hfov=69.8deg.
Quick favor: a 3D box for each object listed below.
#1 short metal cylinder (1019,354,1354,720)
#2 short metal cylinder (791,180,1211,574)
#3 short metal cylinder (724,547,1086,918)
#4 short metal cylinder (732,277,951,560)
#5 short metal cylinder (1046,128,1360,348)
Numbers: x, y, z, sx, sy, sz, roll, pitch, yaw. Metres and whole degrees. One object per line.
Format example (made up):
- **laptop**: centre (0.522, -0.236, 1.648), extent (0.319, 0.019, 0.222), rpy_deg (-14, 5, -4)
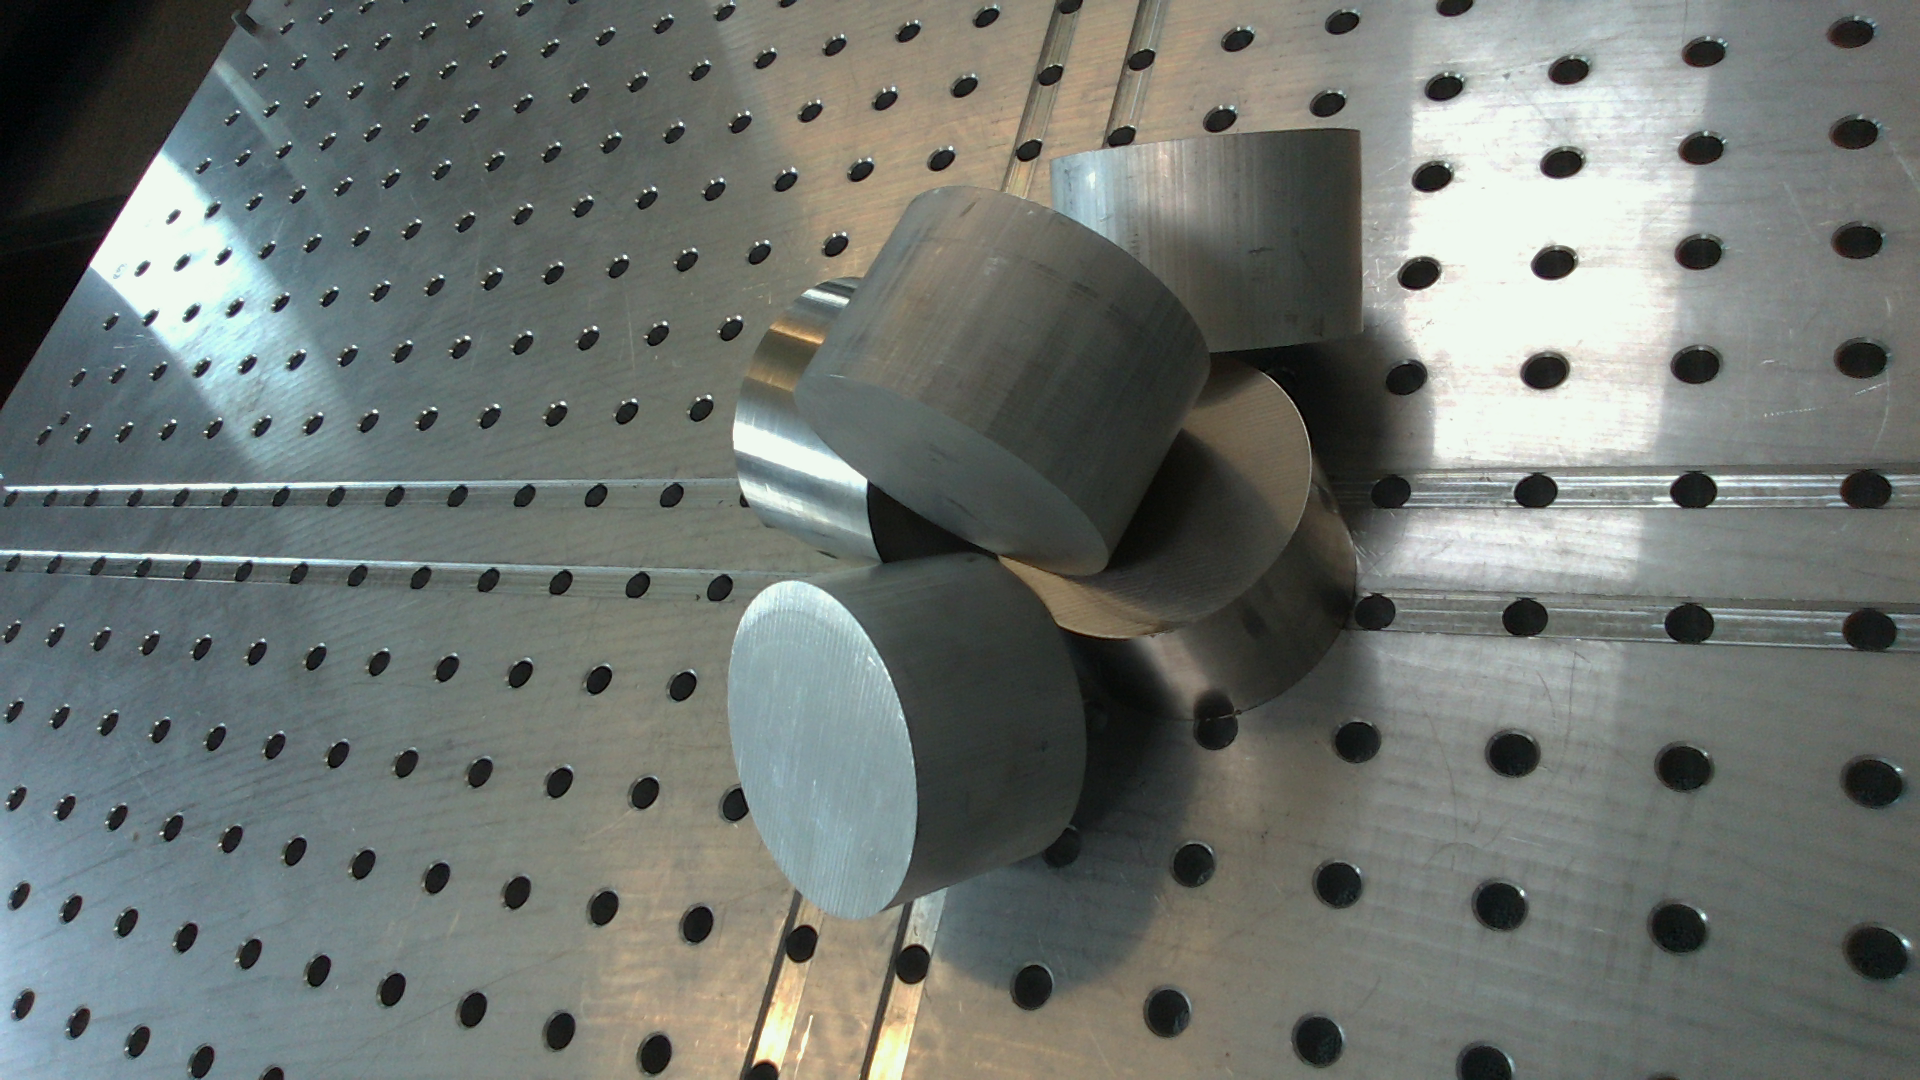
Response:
- **short metal cylinder**: centre (0.055, -0.001, 0.351), extent (0.080, 0.050, 0.080), rpy_deg (-14, 54, 21)
- **short metal cylinder**: centre (0.009, -0.035, 0.312), extent (0.080, 0.080, 0.050), rpy_deg (19, 72, 35)
- **short metal cylinder**: centre (-0.015, 0.045, 0.334), extent (0.080, 0.050, 0.080), rpy_deg (15, 110, 49)
- **short metal cylinder**: centre (-0.017, -0.030, 0.389), extent (0.050, 0.080, 0.080), rpy_deg (20, 72, 36)
- **short metal cylinder**: centre (0.064, -0.079, 0.366), extent (0.080, 0.080, 0.050), rpy_deg (2, 102, 29)
